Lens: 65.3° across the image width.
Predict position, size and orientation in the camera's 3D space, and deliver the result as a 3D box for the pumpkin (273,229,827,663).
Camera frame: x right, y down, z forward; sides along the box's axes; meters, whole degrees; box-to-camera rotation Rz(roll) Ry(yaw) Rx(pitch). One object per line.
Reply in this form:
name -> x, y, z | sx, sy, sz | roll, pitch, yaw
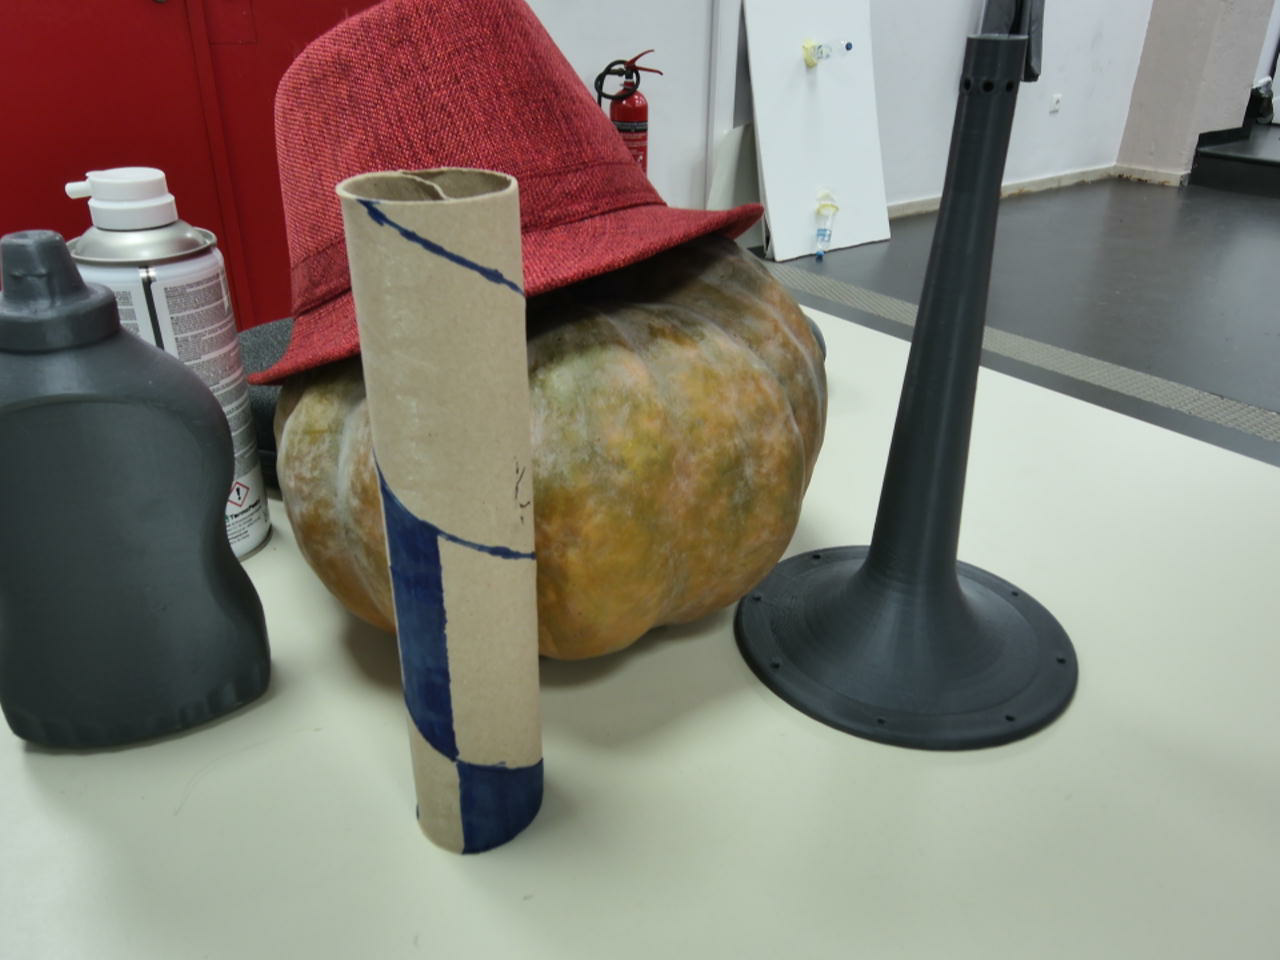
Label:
pumpkin -> -0.041, -0.023, 0.459 | 0.252, 0.169, 0.251 | 0, 25, 0
